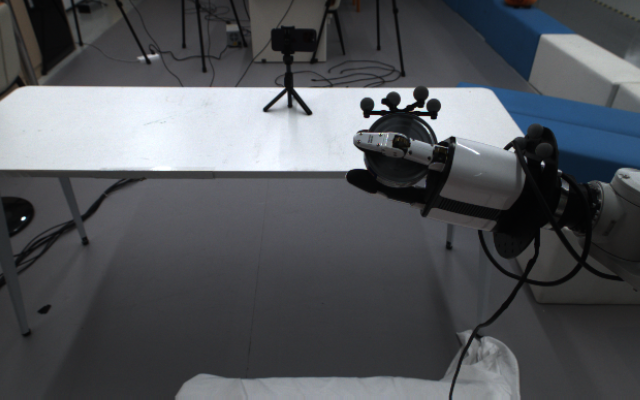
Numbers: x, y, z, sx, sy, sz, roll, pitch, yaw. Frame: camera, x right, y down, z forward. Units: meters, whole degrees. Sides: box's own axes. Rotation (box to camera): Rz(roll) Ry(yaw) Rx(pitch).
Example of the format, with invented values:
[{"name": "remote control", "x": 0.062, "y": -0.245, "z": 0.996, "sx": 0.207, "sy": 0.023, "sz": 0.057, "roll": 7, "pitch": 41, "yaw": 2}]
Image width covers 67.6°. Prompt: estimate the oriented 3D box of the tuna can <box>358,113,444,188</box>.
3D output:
[{"name": "tuna can", "x": 0.095, "y": -0.060, "z": 0.577, "sx": 0.085, "sy": 0.034, "sz": 0.085, "roll": -1, "pitch": 76, "yaw": 4}]
